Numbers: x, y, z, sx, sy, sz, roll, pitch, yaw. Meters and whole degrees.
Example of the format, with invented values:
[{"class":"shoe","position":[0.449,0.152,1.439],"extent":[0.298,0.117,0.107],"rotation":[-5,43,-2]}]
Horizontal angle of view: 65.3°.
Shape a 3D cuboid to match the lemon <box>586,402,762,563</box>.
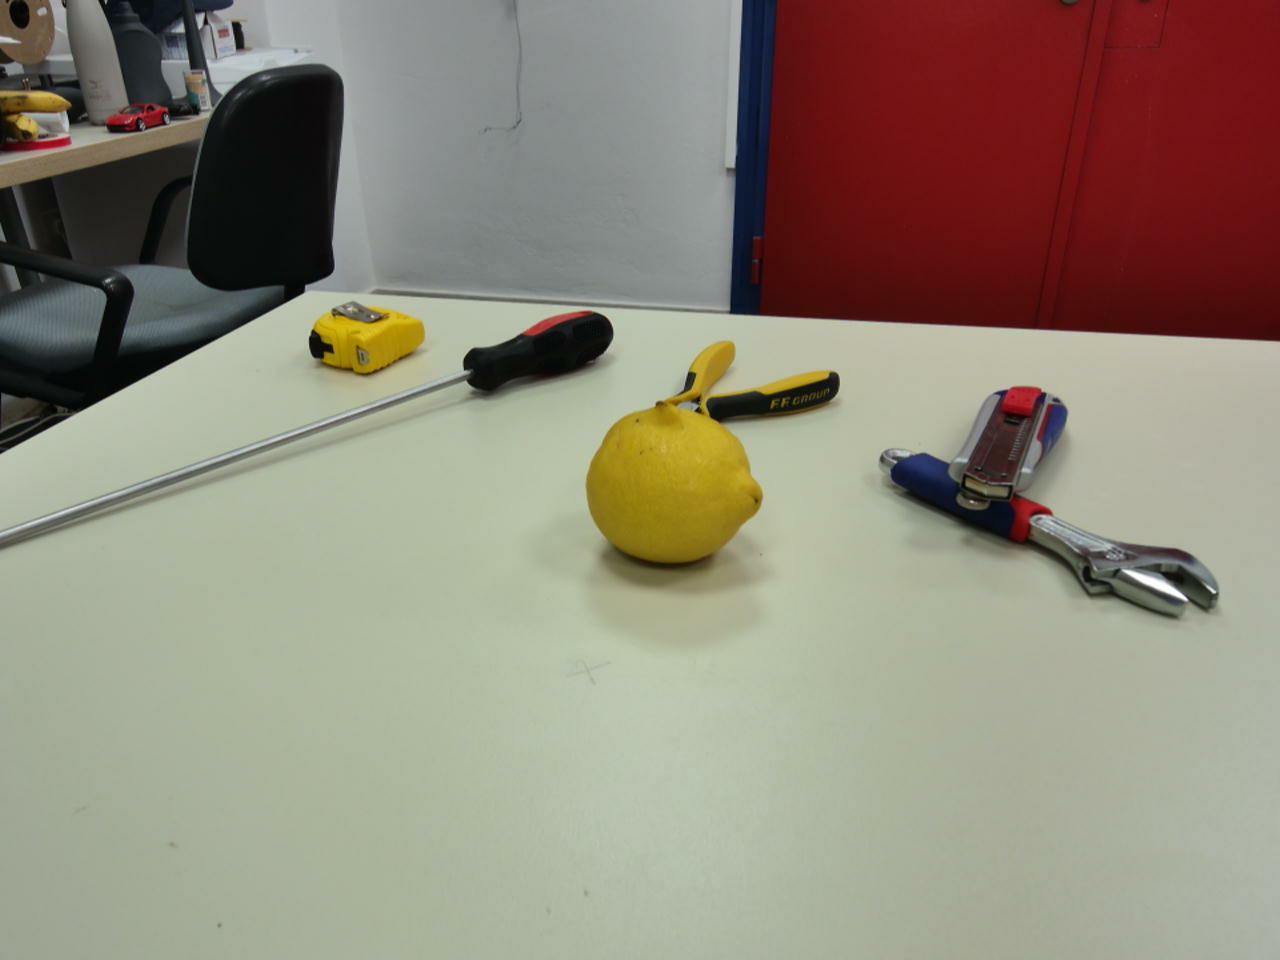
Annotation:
[{"class":"lemon","position":[0.012,-0.001,0.432],"extent":[0.070,0.071,0.071],"rotation":[-9,26,-19]}]
